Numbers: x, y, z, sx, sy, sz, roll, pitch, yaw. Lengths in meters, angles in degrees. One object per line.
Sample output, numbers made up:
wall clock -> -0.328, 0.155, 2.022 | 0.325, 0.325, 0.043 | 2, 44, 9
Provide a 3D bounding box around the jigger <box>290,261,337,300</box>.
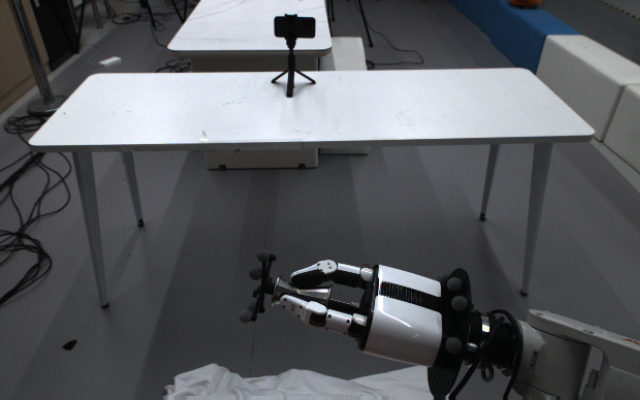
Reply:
jigger -> -0.015, 0.118, 0.605 | 0.071, 0.043, 0.043 | 12, 36, 5
